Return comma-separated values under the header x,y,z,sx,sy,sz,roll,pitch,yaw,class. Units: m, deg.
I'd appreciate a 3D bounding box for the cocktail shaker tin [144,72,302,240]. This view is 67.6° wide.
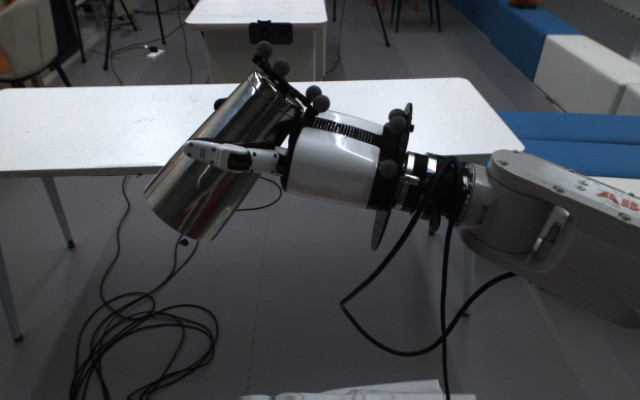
x,y,z,sx,sy,sz,roll,pitch,yaw,class
-0.094,-0.052,0.511,0.093,0.170,0.093,41,12,-11,cocktail shaker tin
